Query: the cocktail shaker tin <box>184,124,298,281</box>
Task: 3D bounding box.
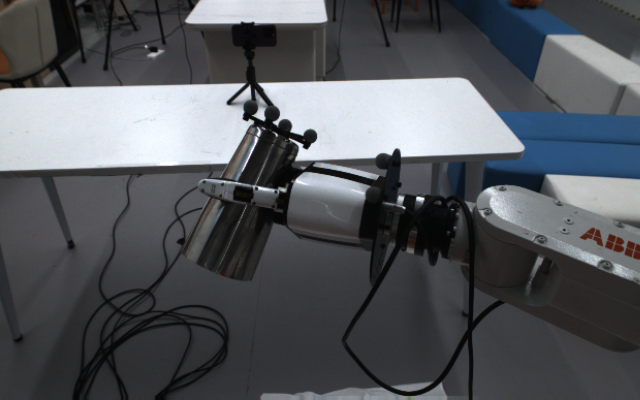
[{"bbox_3d":[-0.087,-0.001,0.582,0.093,0.170,0.093,23,0,0],"label":"cocktail shaker tin"}]
